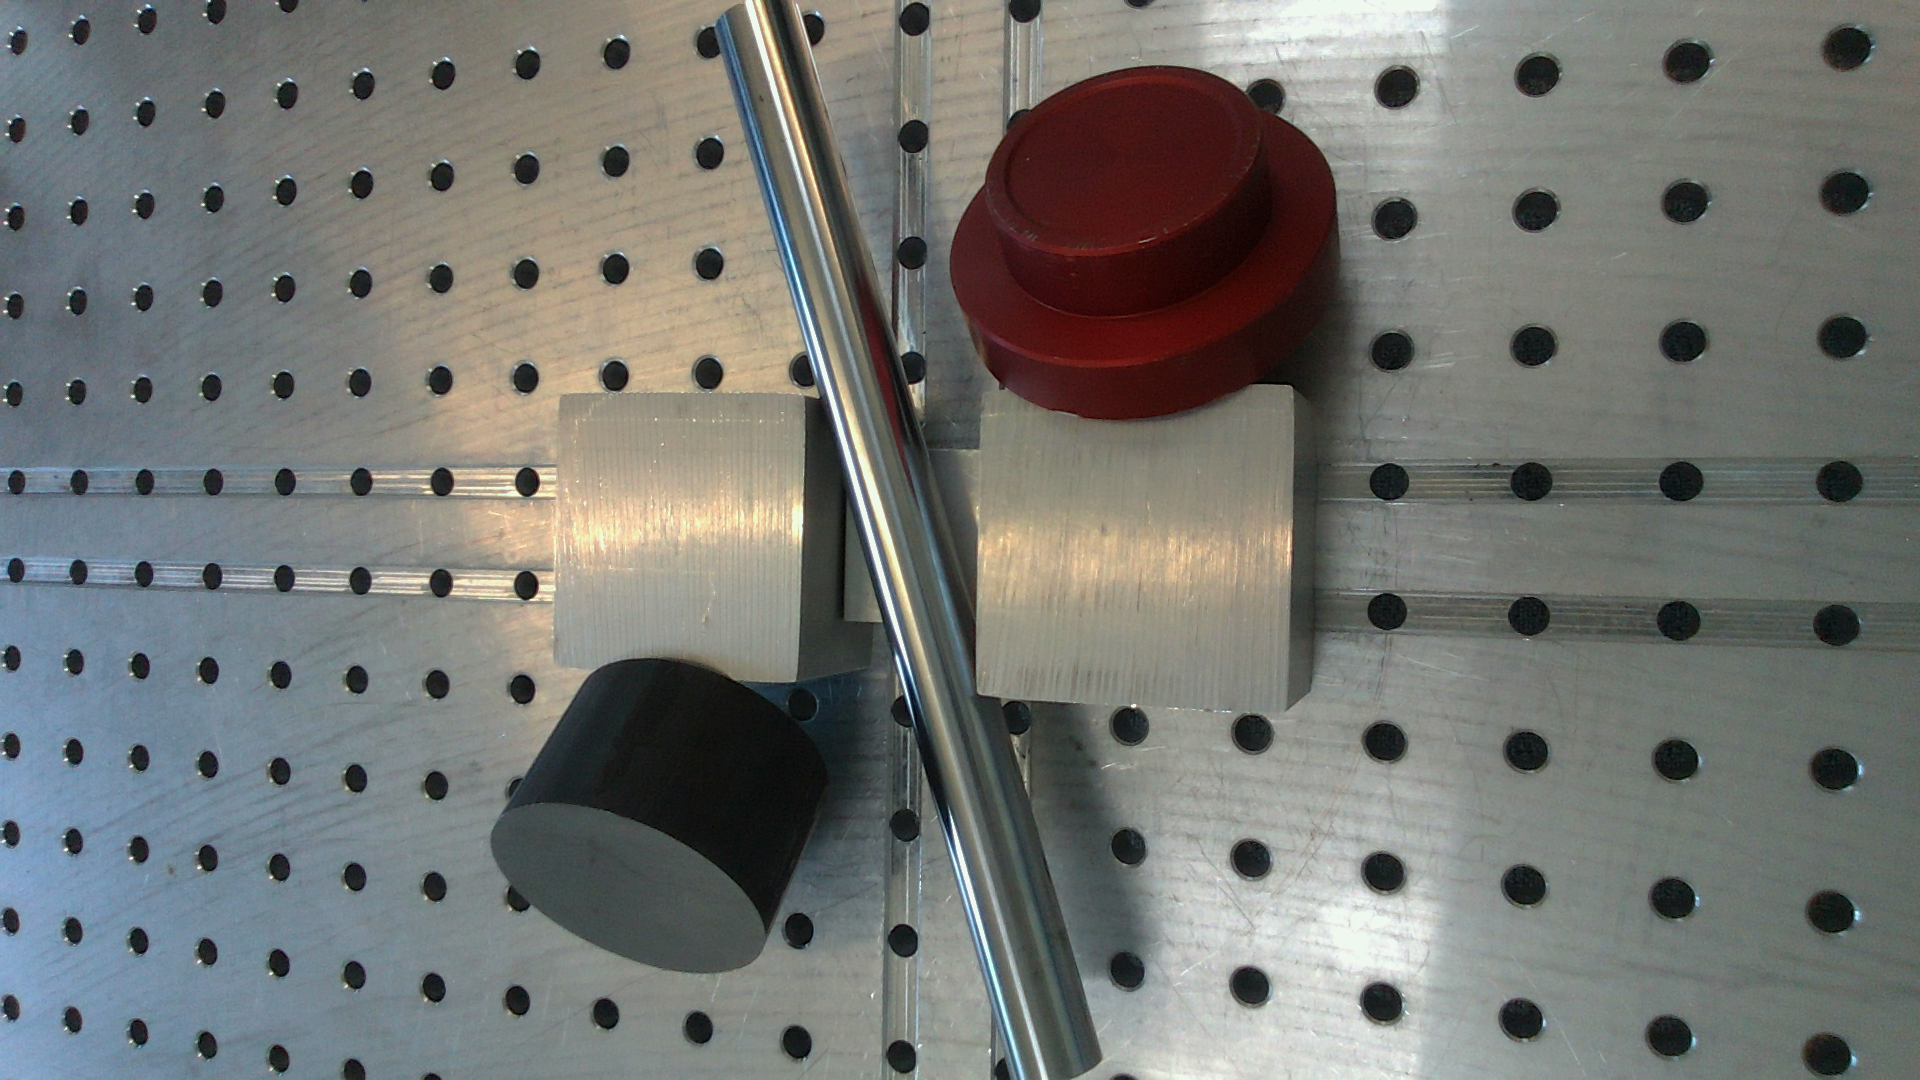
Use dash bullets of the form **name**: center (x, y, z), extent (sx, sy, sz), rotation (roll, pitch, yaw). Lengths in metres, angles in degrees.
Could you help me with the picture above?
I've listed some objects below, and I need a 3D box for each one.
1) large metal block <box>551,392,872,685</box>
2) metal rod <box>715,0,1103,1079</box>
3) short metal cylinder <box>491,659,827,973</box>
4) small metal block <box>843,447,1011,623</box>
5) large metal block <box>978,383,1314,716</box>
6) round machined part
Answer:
- **large metal block**: center (-0.072, -0.002, 0.412), extent (0.080, 0.050, 0.080), rotation (2, 91, 20)
- **metal rod**: center (-0.016, -0.004, 0.376), extent (0.025, 0.025, 0.300), rotation (-18, 84, 19)
- **short metal cylinder**: center (-0.084, 0.080, 0.393), extent (0.080, 0.050, 0.080), rotation (11, 136, 11)
- **small metal block**: center (-0.006, -0.001, 0.401), extent (0.050, 0.025, 0.050), rotation (1, 90, 20)
- **large metal block**: center (0.051, 0.002, 0.367), extent (0.080, 0.050, 0.080), rotation (1, 90, 20)
- **round machined part**: center (0.044, -0.081, 0.347), extent (0.098, 0.042, 0.098), rotation (-9, 52, 13)
